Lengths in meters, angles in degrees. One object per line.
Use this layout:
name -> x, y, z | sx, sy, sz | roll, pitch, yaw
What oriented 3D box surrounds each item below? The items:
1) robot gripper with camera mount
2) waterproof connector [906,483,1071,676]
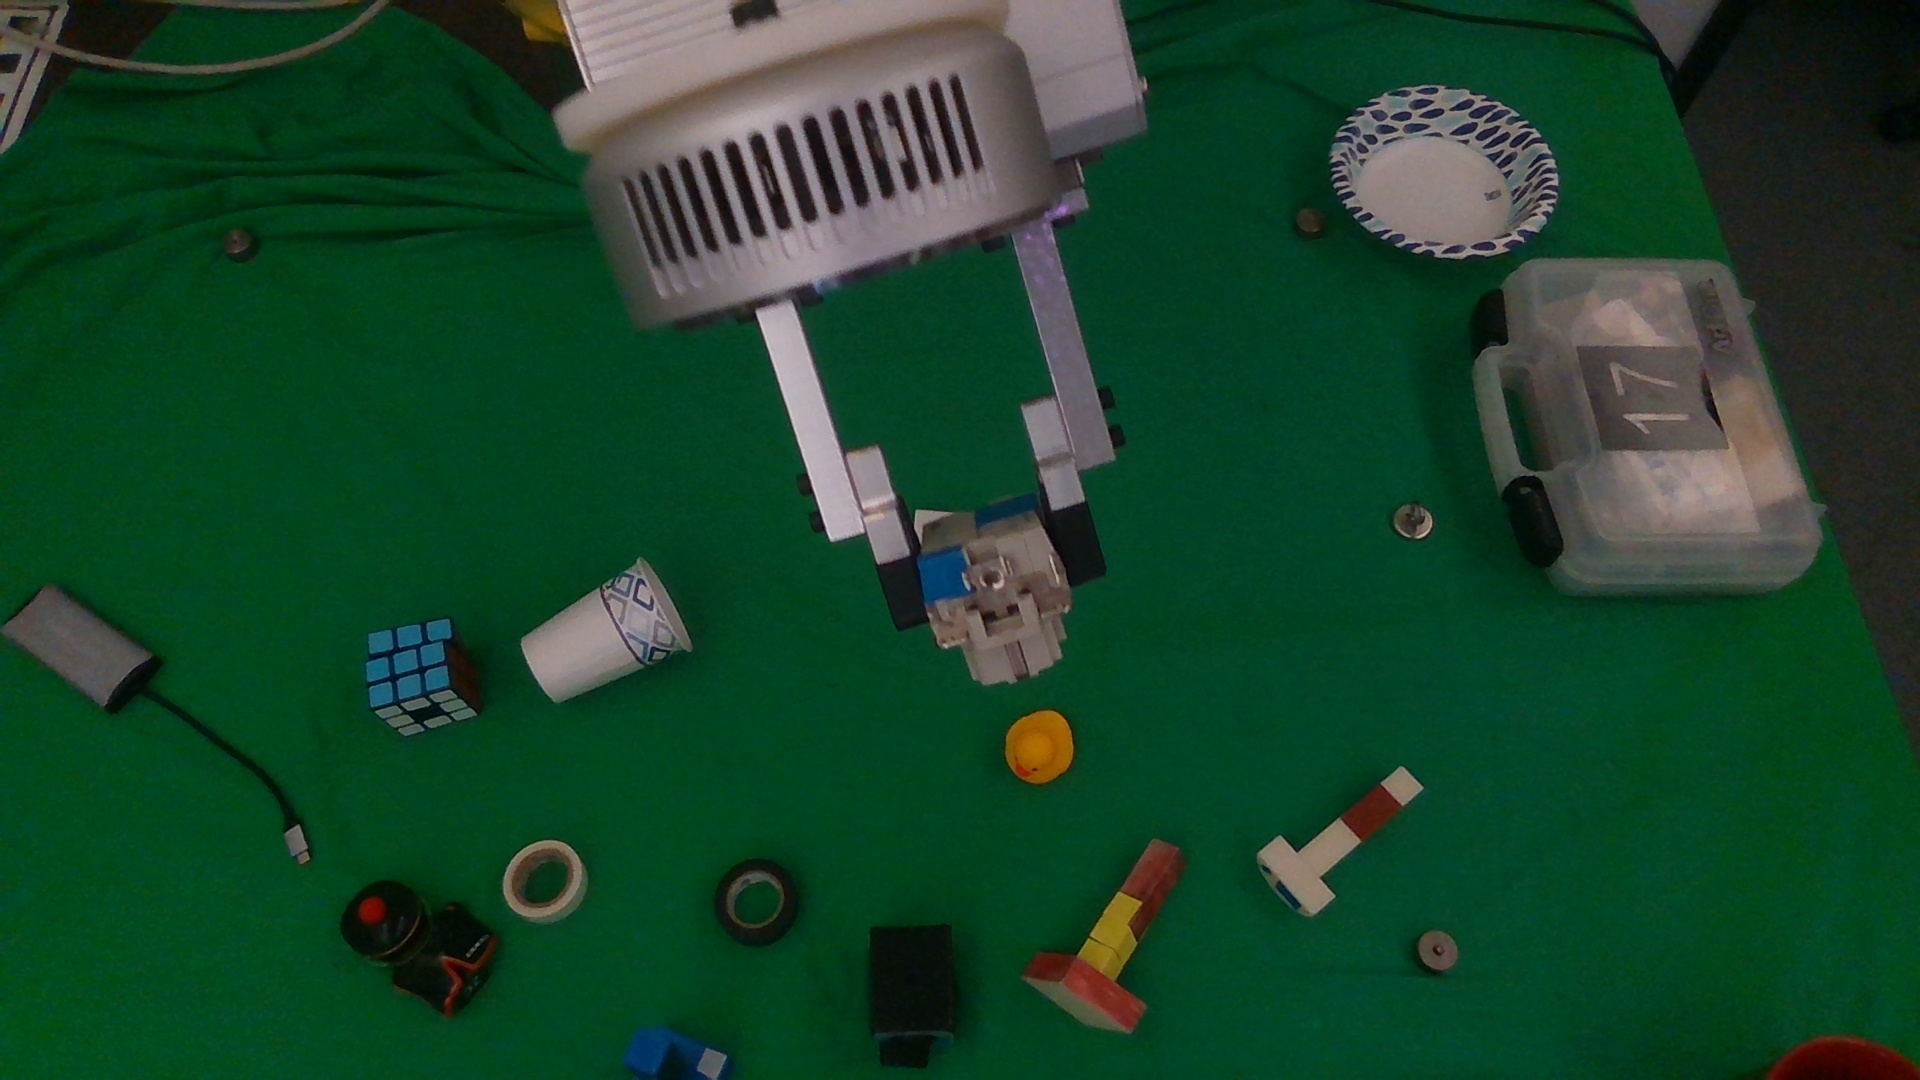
robot gripper with camera mount -> -0.010, -0.045, 0.241 | 0.119, 0.193, 0.158 | -15, 102, 2
waterproof connector -> 0.008, 0.010, 0.337 | 0.035, 0.065, 0.037 | -20, 99, 2
